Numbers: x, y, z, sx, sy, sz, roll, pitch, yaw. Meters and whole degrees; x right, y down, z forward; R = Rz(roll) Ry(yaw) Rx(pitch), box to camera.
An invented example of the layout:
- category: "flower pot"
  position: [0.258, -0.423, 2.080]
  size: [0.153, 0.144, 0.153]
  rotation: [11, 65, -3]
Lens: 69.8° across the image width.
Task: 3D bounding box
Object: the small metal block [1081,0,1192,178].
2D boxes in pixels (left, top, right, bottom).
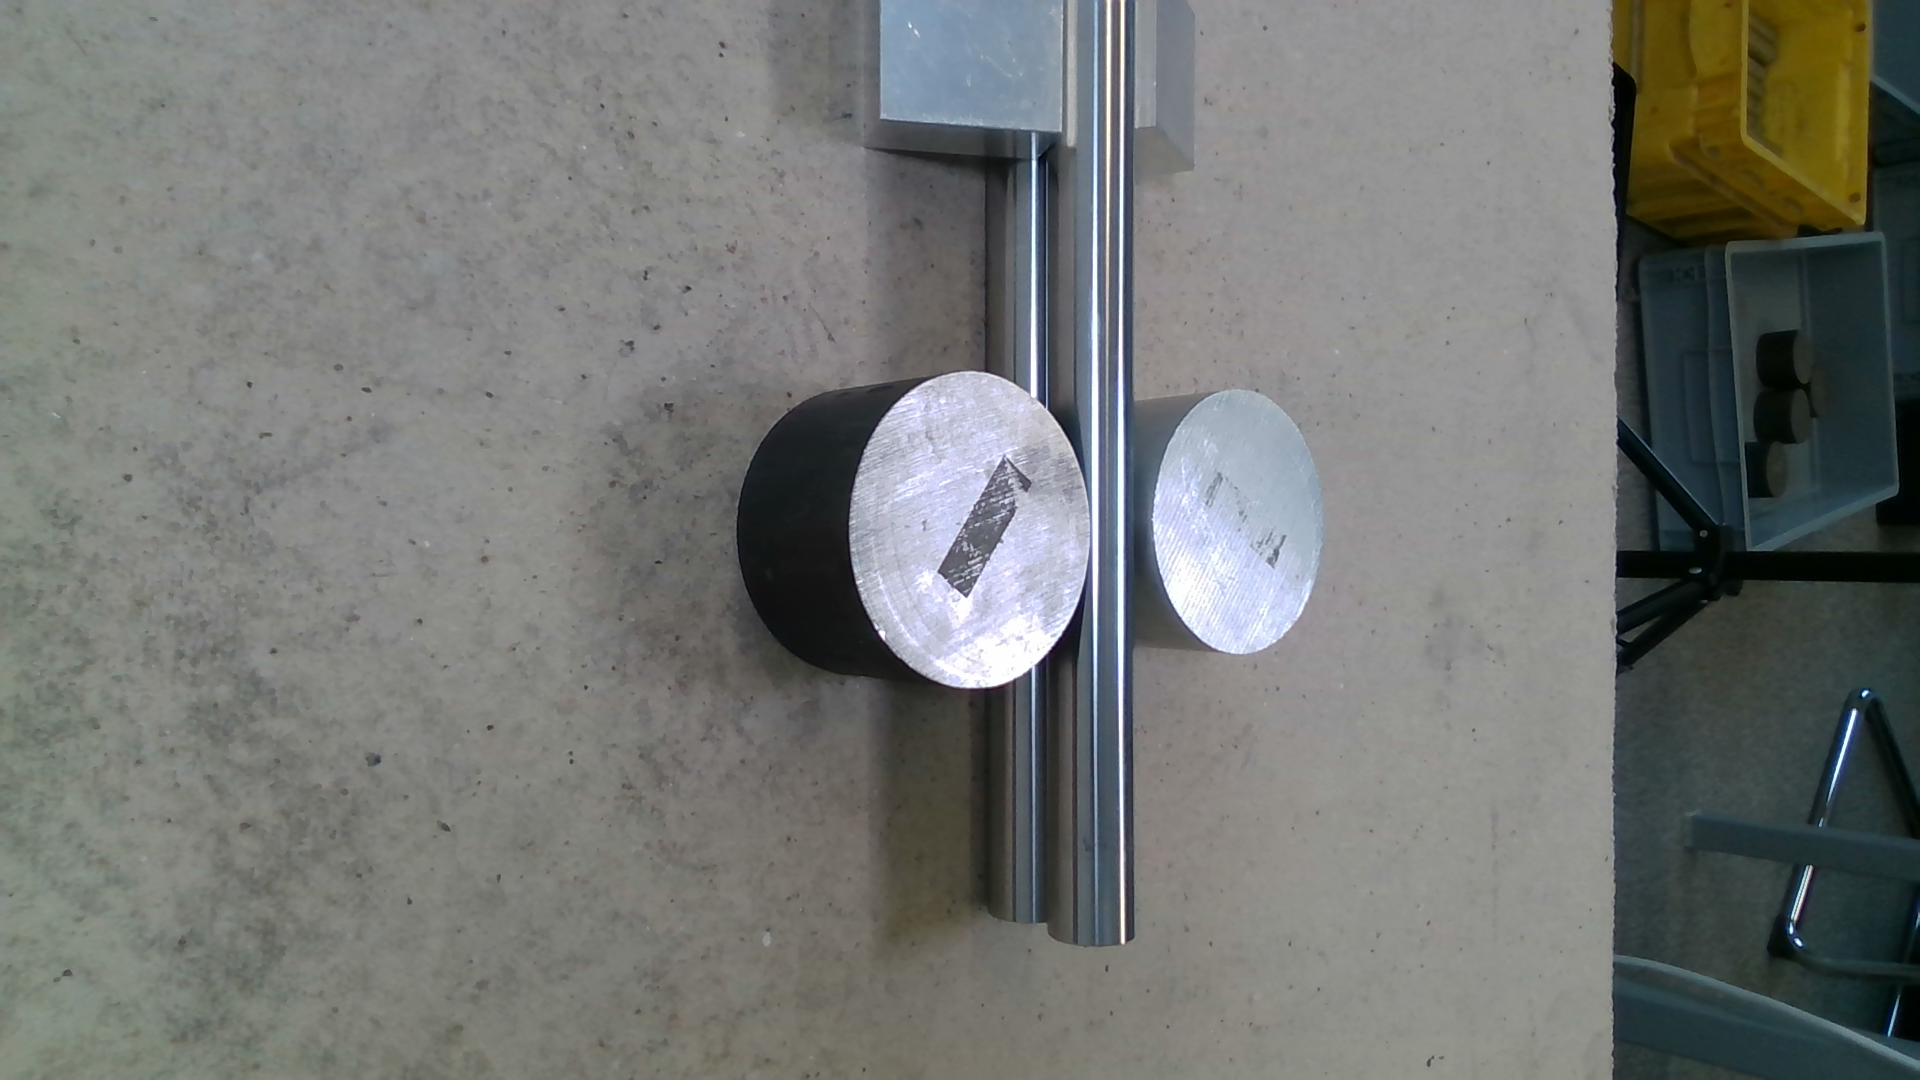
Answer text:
- category: "small metal block"
  position: [0.053, -0.143, 0.424]
  size: [0.050, 0.025, 0.050]
  rotation: [0, 89, -67]

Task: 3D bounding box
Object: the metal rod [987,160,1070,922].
- category: "metal rod"
  position: [0.021, -0.040, 0.409]
  size: [0.025, 0.025, 0.300]
  rotation: [0, 90, -40]

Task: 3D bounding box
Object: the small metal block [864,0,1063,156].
- category: "small metal block"
  position: [0.001, -0.135, 0.378]
  size: [0.050, 0.025, 0.050]
  rotation: [1, 90, -14]

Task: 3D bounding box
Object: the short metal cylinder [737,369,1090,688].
- category: "short metal cylinder"
  position: [-0.012, -0.003, 0.365]
  size: [0.080, 0.050, 0.080]
  rotation: [0, 90, -40]

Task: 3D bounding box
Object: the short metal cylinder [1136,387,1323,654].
- category: "short metal cylinder"
  position: [0.069, -0.006, 0.434]
  size: [0.080, 0.050, 0.080]
  rotation: [0, 90, -40]

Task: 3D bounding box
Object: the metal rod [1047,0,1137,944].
- category: "metal rod"
  position: [0.037, -0.039, 0.390]
  size: [0.025, 0.025, 0.300]
  rotation: [0, 90, -40]
